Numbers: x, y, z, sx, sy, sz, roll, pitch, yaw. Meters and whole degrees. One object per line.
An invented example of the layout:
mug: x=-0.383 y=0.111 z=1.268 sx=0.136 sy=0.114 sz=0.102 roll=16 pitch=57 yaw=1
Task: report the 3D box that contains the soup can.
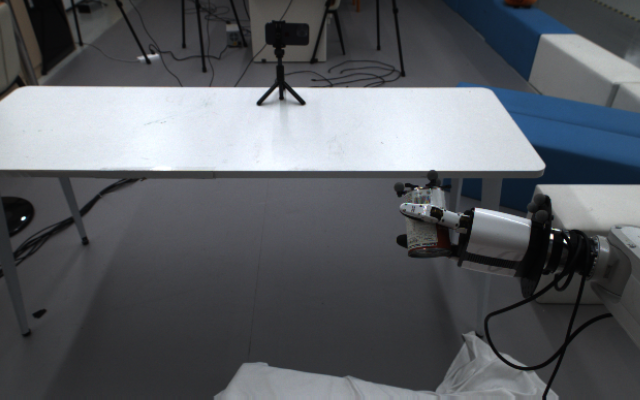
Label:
soup can: x=0.171 y=0.035 z=0.769 sx=0.067 sy=0.067 sz=0.101 roll=-1 pitch=72 yaw=-4
